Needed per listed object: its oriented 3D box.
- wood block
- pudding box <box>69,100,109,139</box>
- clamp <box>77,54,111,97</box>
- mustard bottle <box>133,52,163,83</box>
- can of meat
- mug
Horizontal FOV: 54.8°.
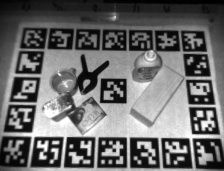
[{"bbox_3d":[0.169,0.051,0.782,0.089,0.091,0.207,35,72,13],"label":"wood block"},{"bbox_3d":[-0.082,0.122,0.778,0.114,0.039,0.089,-38,76,-14],"label":"pudding box"},{"bbox_3d":[-0.085,-0.036,0.837,0.121,0.036,0.165,19,74,4],"label":"clamp"},{"bbox_3d":[0.127,-0.065,0.762,0.096,0.192,0.058,-5,72,-1],"label":"mustard bottle"},{"bbox_3d":[-0.180,0.093,0.757,0.102,0.084,0.057,-30,75,-10],"label":"can of meat"},{"bbox_3d":[-0.168,0.001,0.818,0.093,0.082,0.117,21,74,7],"label":"mug"}]
